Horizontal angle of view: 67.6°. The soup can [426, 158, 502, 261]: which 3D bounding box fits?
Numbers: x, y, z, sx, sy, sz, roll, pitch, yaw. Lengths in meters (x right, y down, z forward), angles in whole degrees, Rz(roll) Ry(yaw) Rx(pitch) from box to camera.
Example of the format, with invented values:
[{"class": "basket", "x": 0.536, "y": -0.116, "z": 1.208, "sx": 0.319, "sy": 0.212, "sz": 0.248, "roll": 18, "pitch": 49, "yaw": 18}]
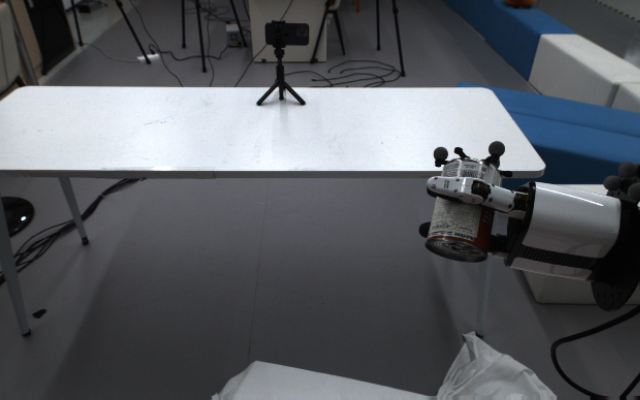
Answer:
[{"class": "soup can", "x": 0.164, "y": 0.008, "z": 0.553, "sx": 0.067, "sy": 0.067, "sz": 0.101, "roll": 12, "pitch": 70, "yaw": 14}]
